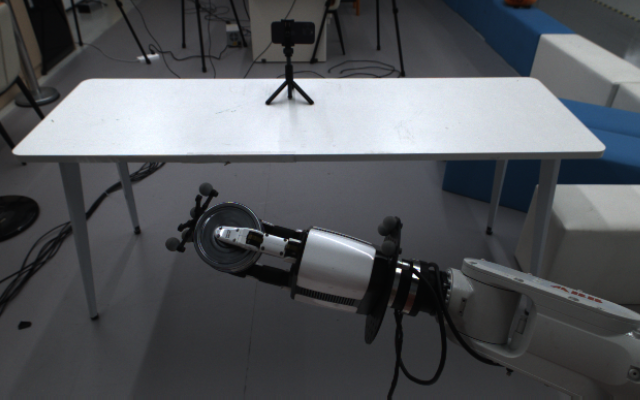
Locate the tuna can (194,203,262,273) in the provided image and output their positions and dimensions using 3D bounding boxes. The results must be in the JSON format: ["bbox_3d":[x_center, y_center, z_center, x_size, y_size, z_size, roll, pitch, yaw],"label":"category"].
[{"bbox_3d":[-0.108,0.051,0.600,0.085,0.034,0.085,0,75,-2],"label":"tuna can"}]
